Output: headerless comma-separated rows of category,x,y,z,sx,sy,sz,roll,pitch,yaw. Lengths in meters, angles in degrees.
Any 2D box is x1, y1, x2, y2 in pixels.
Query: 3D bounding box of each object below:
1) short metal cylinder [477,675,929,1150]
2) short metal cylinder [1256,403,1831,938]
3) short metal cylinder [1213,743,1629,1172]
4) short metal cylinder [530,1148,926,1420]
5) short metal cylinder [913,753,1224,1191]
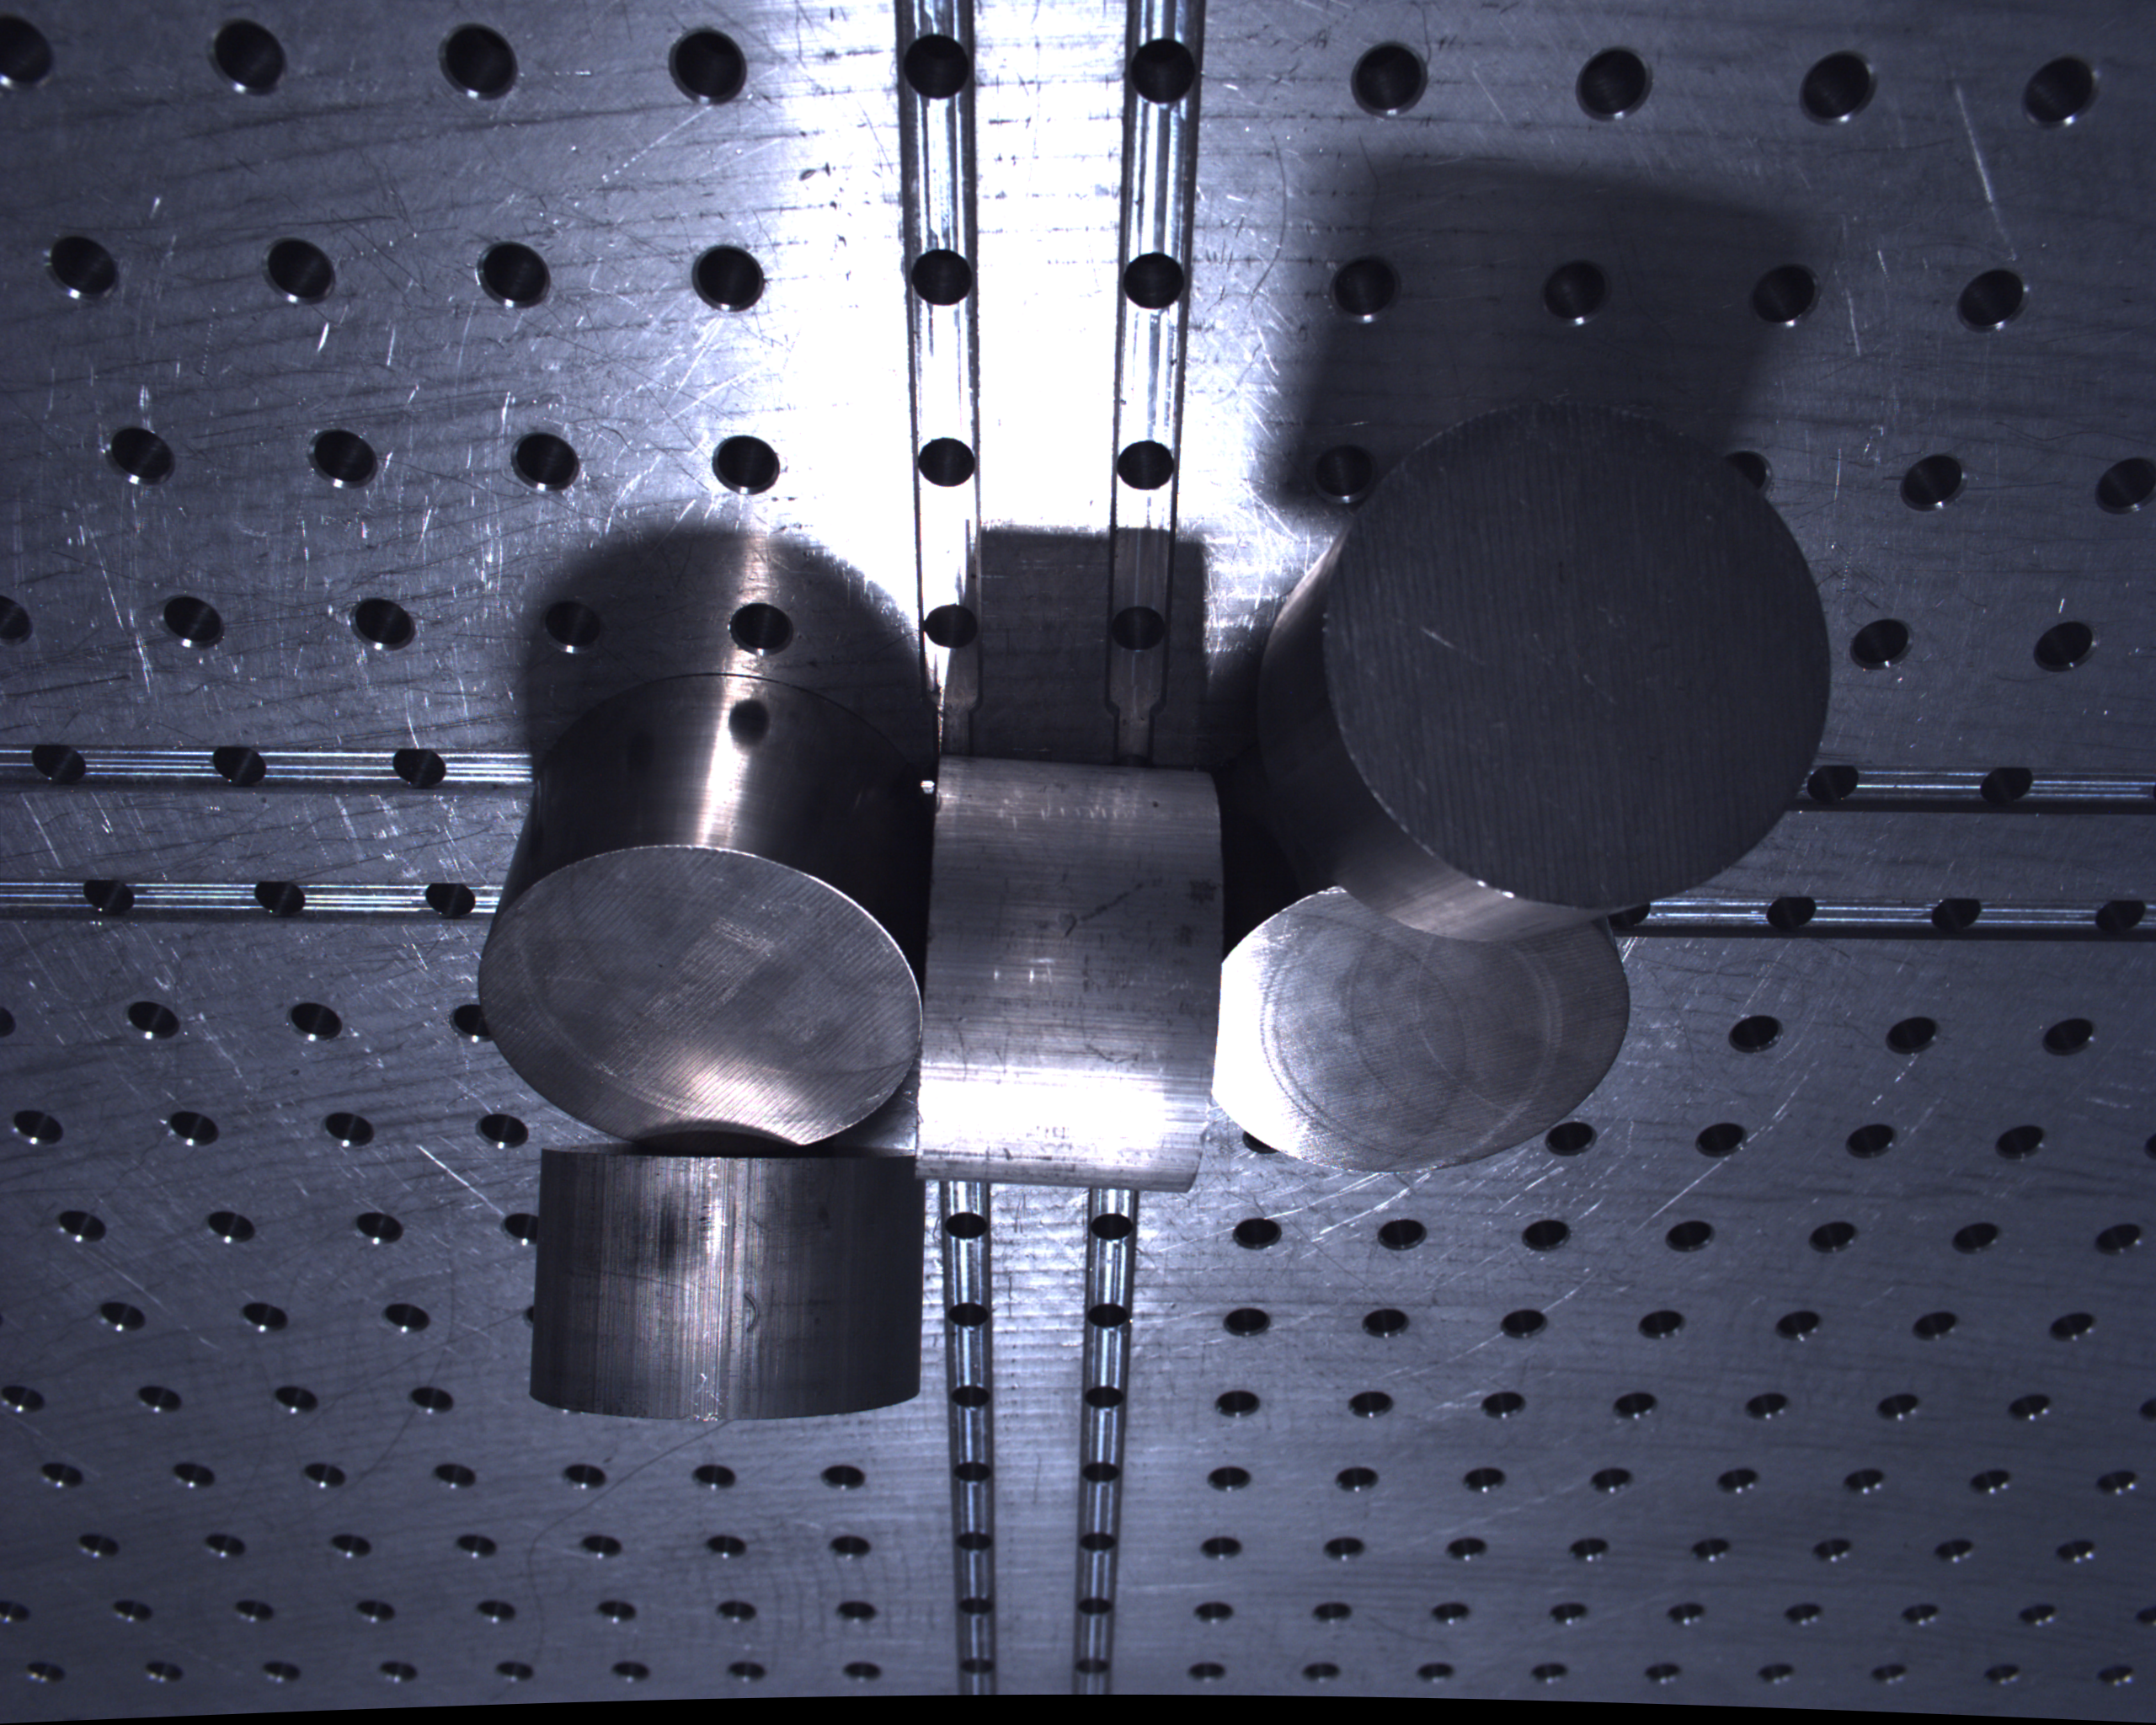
short metal cylinder,-0.070,0.011,0.402,0.081,0.050,0.079,0,130,0
short metal cylinder,0.074,-0.029,0.343,0.081,0.080,0.050,7,171,-6
short metal cylinder,0.062,0.015,0.408,0.081,0.050,0.079,0,130,0
short metal cylinder,-0.073,0.085,0.440,0.081,0.050,0.080,1,174,0
short metal cylinder,-0.003,0.021,0.393,0.050,0.080,0.079,4,130,-4
